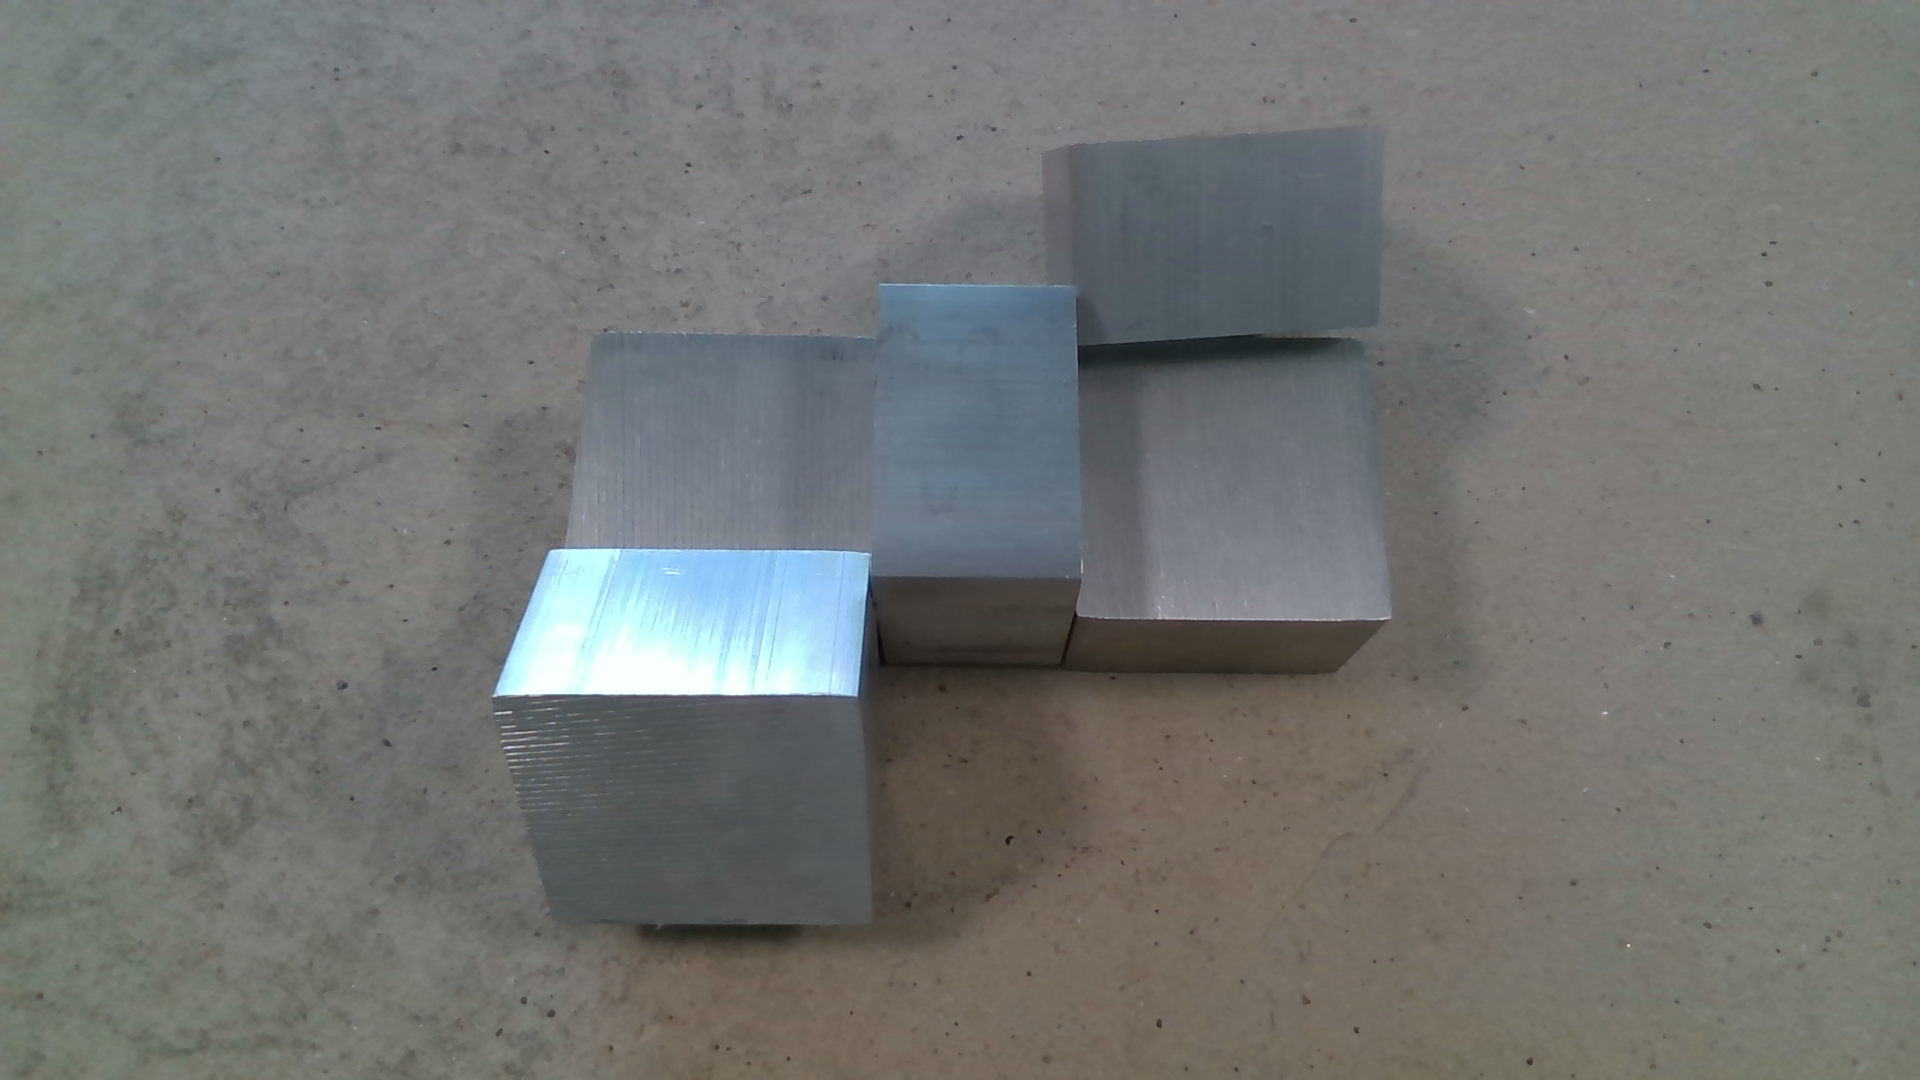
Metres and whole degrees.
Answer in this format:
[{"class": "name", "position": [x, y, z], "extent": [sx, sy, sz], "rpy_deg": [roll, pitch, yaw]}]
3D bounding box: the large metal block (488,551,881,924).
[{"class": "large metal block", "position": [-0.062, 0.050, 0.341], "extent": [0.080, 0.080, 0.050], "rpy_deg": [0, 38, 0]}]

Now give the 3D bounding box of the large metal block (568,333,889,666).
[{"class": "large metal block", "position": [-0.061, -0.010, 0.386], "extent": [0.080, 0.050, 0.080], "rpy_deg": [0, 70, 1]}]

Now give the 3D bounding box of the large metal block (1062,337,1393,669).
[{"class": "large metal block", "position": [0.069, -0.009, 0.384], "extent": [0.080, 0.050, 0.080], "rpy_deg": [1, 70, 0]}]

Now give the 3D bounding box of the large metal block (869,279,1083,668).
[{"class": "large metal block", "position": [0.004, -0.014, 0.372], "extent": [0.050, 0.080, 0.080], "rpy_deg": [0, 70, 0]}]

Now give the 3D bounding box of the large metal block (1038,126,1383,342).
[{"class": "large metal block", "position": [0.066, -0.087, 0.390], "extent": [0.080, 0.080, 0.050], "rpy_deg": [-3, 104, -1]}]
